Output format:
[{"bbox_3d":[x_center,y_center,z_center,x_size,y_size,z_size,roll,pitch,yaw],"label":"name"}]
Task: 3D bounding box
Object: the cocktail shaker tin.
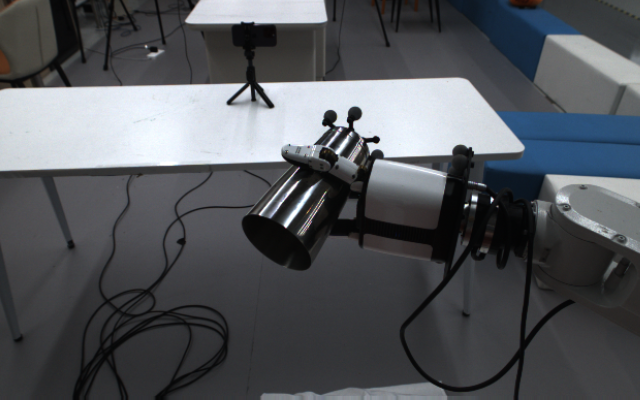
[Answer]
[{"bbox_3d":[-0.004,-0.014,0.576,0.093,0.093,0.170,19,54,22],"label":"cocktail shaker tin"}]
